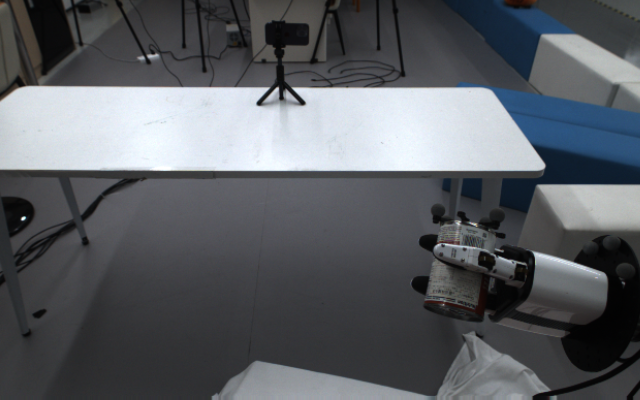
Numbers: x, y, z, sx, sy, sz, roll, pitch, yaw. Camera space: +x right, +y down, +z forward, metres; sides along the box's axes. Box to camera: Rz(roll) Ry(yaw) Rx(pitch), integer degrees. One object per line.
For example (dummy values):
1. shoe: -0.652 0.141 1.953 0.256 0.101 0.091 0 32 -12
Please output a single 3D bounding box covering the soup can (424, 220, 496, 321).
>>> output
1. soup can: 0.165 0.082 0.565 0.067 0.067 0.101 11 73 13
